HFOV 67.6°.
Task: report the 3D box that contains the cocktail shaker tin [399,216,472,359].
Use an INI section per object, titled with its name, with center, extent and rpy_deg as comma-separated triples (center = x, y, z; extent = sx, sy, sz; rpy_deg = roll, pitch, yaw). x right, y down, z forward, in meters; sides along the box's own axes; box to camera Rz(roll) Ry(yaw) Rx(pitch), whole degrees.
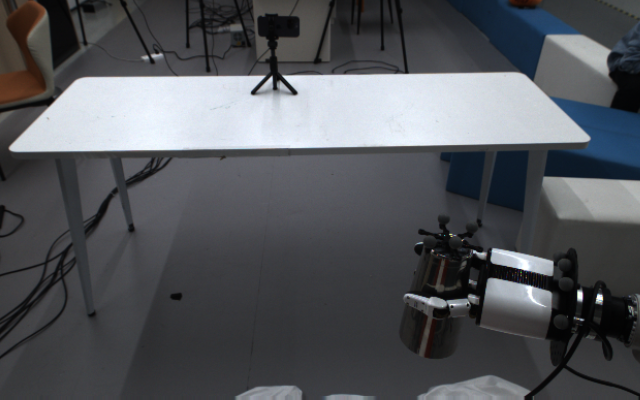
[cocktail shaker tin]
center = 0.175, 0.135, 0.707
extent = 0.093, 0.170, 0.093
rpy_deg = 3, 30, -1
